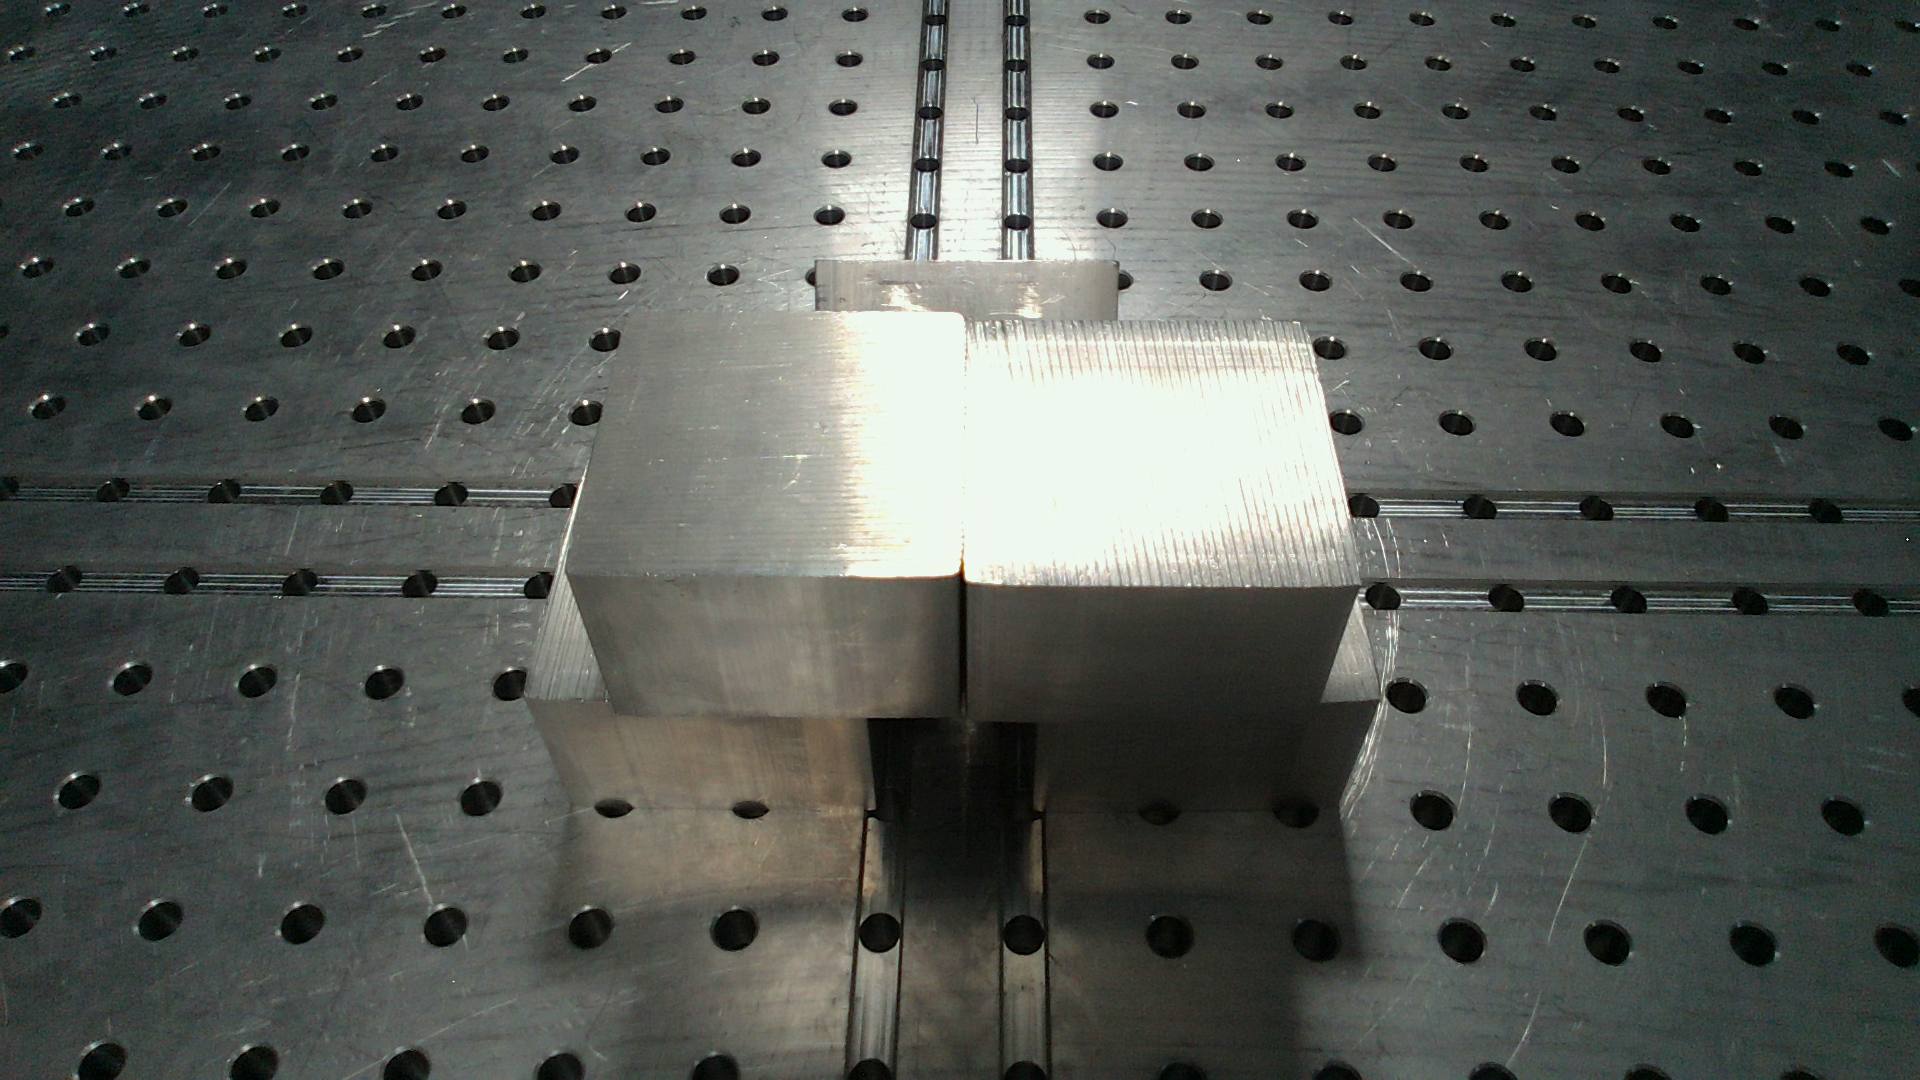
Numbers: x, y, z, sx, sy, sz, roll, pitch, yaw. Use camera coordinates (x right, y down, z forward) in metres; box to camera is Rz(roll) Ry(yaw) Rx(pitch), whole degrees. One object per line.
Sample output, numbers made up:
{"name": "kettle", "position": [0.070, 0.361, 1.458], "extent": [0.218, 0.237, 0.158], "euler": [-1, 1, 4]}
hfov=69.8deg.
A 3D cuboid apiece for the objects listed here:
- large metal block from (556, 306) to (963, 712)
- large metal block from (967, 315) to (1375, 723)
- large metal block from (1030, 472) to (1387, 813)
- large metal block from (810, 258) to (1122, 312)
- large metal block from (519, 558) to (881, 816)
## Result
{"name": "large metal block", "position": [-0.040, -0.008, 0.316], "extent": [0.080, 0.050, 0.080], "euler": [0, 50, 0]}
{"name": "large metal block", "position": [0.042, -0.006, 0.315], "extent": [0.080, 0.050, 0.080], "euler": [0, 50, 0]}
{"name": "large metal block", "position": [0.057, 0.022, 0.359], "extent": [0.080, 0.050, 0.080], "euler": [-1, 50, -1]}
{"name": "large metal block", "position": [0.002, -0.053, 0.396], "extent": [0.080, 0.050, 0.080], "euler": [0, 8, 0]}
{"name": "large metal block", "position": [-0.060, 0.023, 0.359], "extent": [0.080, 0.050, 0.080], "euler": [1, 50, 1]}
